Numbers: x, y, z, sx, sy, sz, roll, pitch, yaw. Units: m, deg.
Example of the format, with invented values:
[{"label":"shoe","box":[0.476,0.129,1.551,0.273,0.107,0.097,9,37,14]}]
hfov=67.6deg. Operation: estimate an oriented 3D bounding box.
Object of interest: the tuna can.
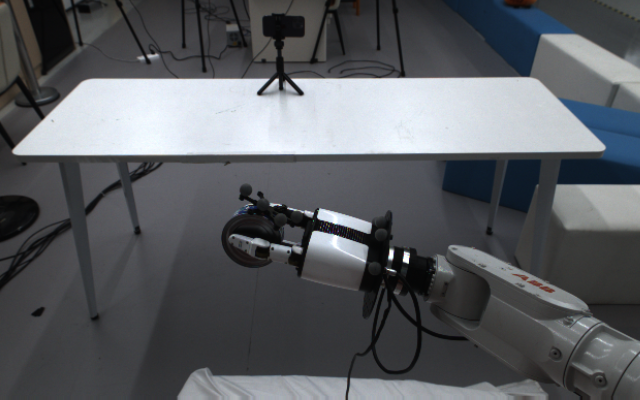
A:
[{"label":"tuna can","box":[-0.094,0.053,0.694,0.085,0.085,0.034,4,20,3]}]
